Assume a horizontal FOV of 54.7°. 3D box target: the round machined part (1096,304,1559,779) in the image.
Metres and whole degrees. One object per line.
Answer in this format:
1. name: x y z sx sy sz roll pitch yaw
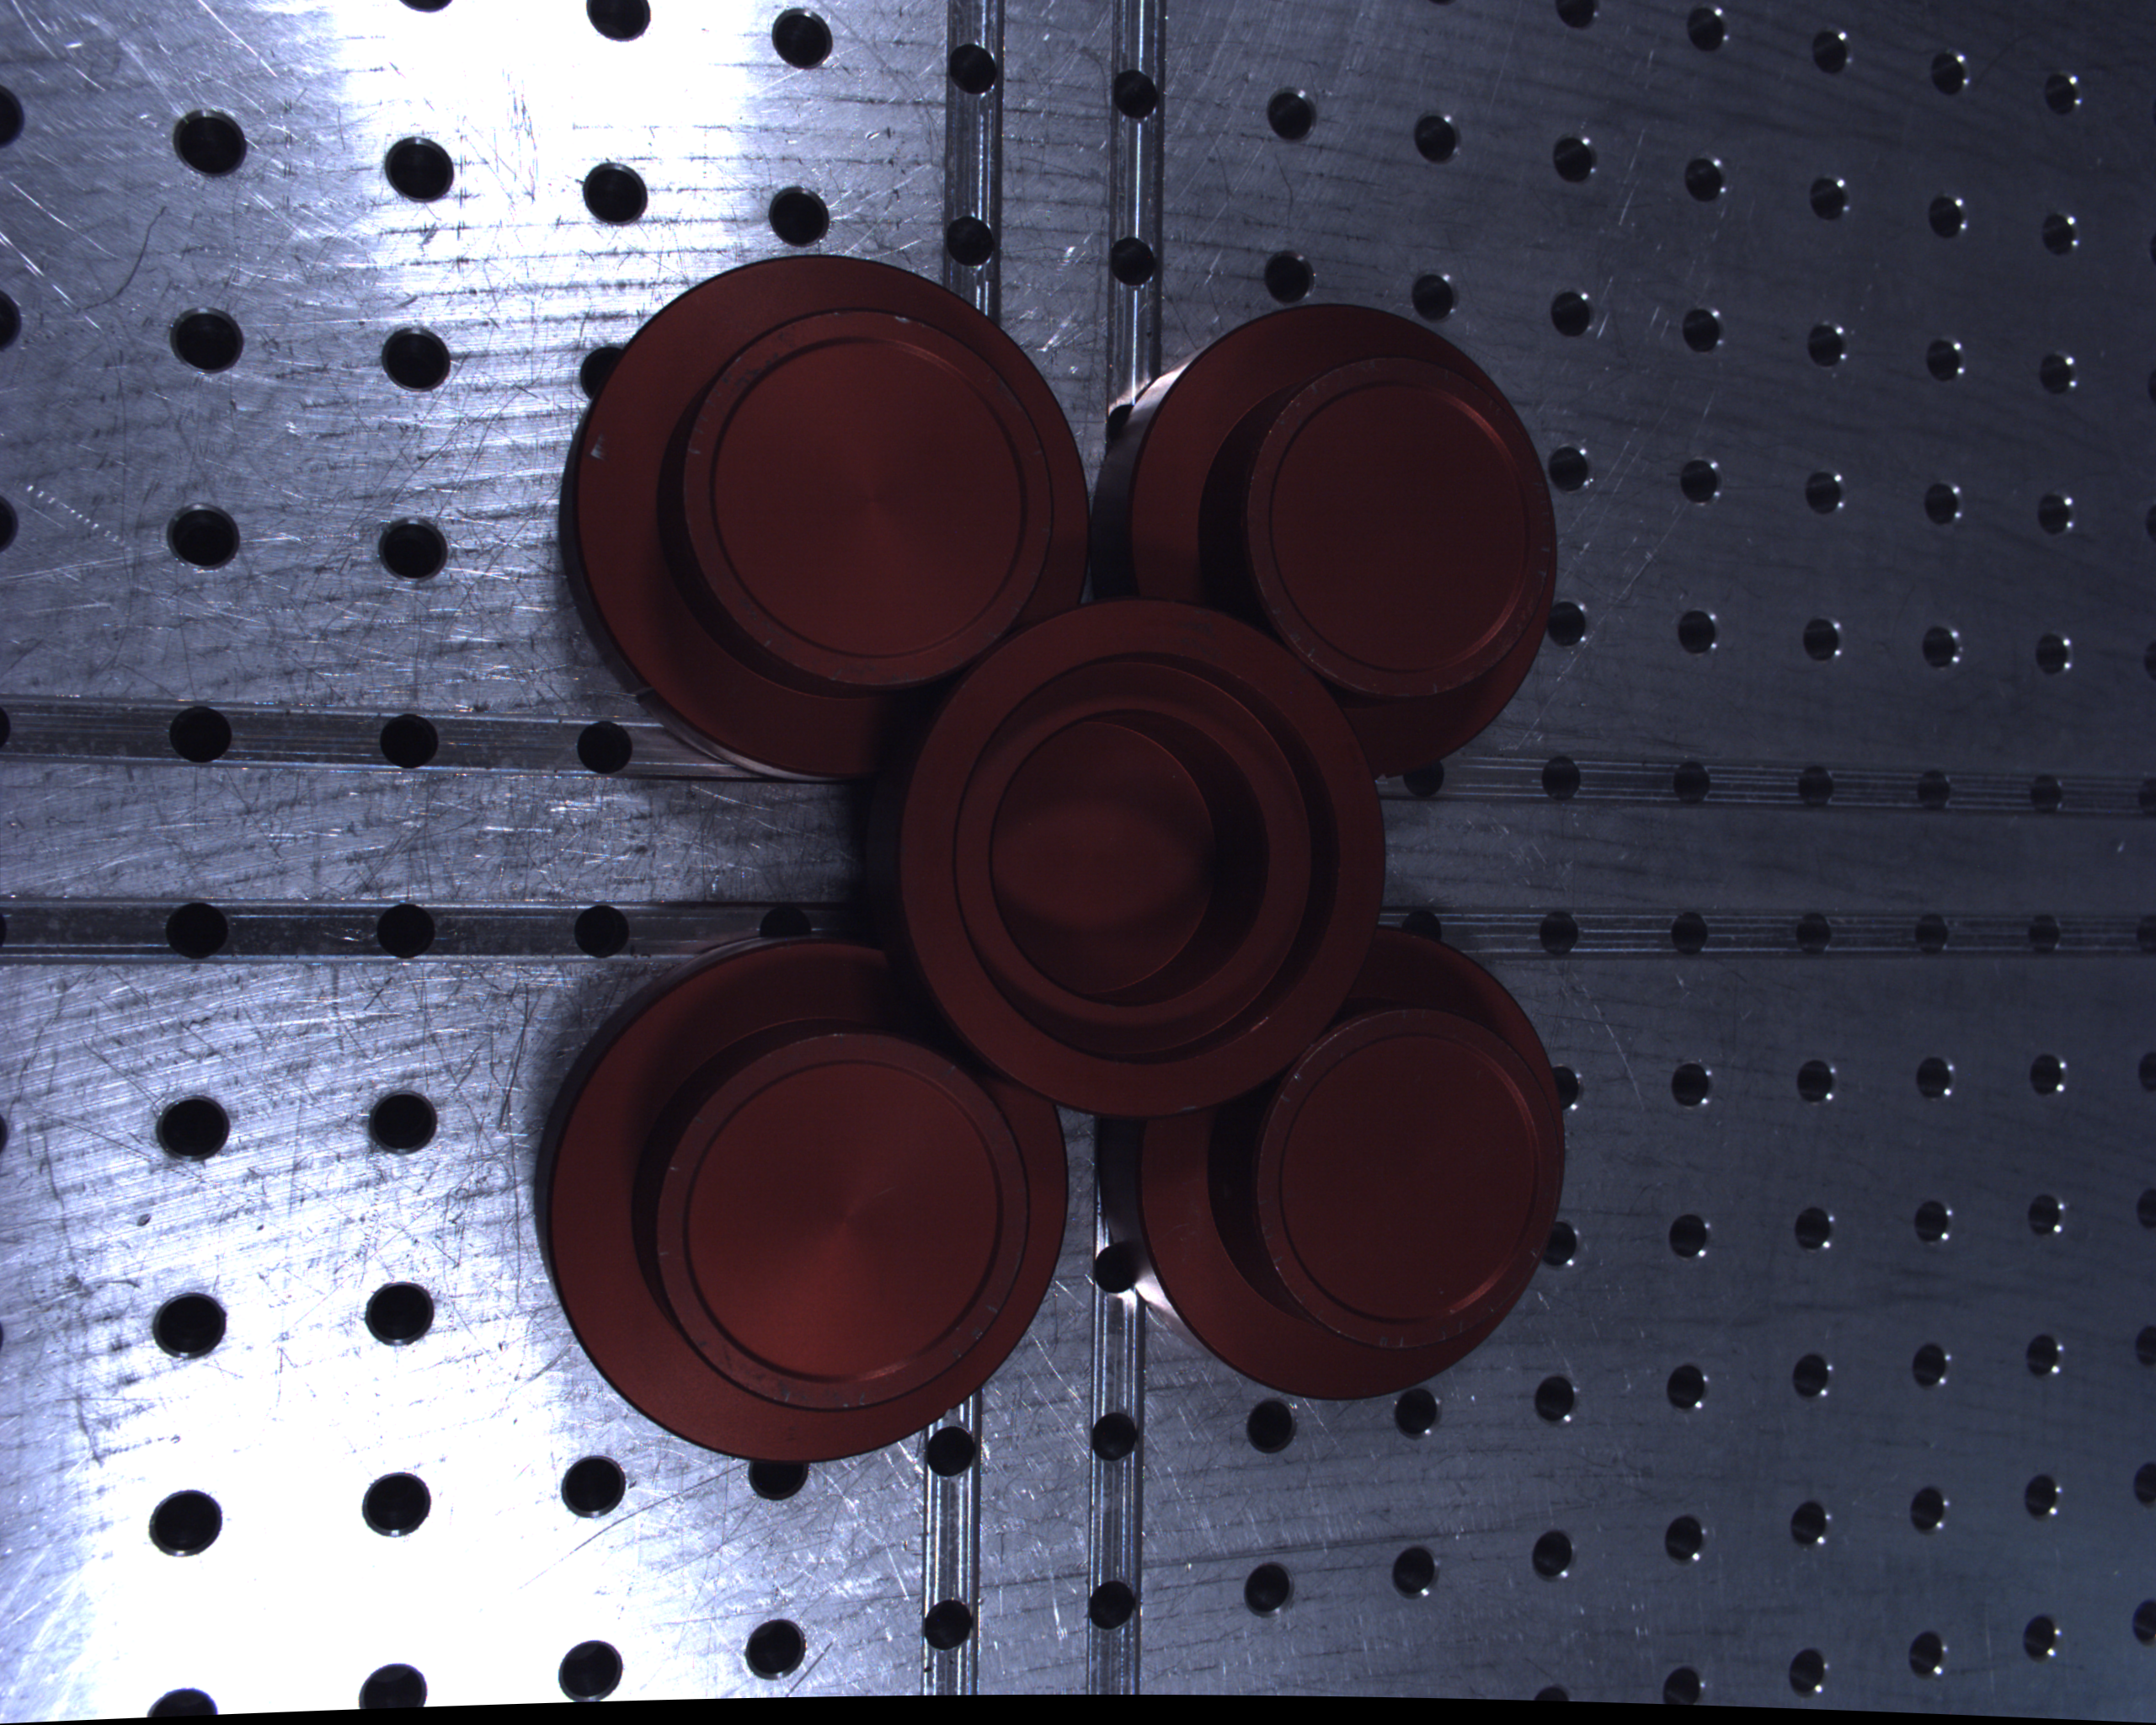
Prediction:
1. round machined part: 0.056 -0.065 0.425 0.099 0.042 0.097 0 90 -21

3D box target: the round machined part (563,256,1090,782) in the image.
1. round machined part: -0.043 -0.064 0.388 0.099 0.042 0.097 0 90 -21

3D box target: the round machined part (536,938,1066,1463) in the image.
1. round machined part: -0.048 0.063 0.387 0.099 0.042 0.097 0 90 -21

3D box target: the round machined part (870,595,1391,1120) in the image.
1. round machined part: 0.007 -0.001 0.405 0.099 0.042 0.097 0 90 -21

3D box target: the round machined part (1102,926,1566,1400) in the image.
1. round machined part: 0.058 0.061 0.426 0.099 0.042 0.097 0 90 -21
